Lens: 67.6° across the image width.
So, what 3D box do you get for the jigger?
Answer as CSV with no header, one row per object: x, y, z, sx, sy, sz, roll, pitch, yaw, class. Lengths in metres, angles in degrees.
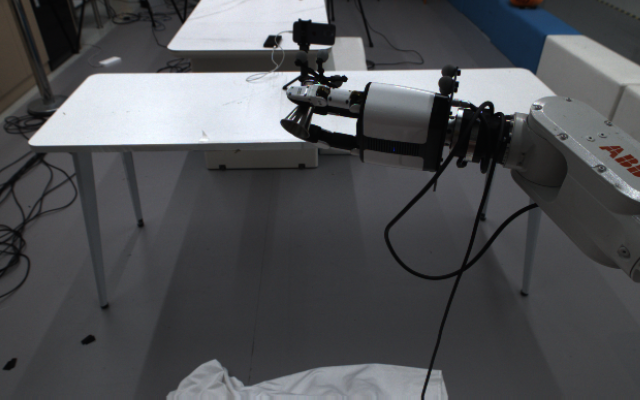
-0.021,-0.127,0.657,0.043,0.043,0.071,20,73,24,jigger
